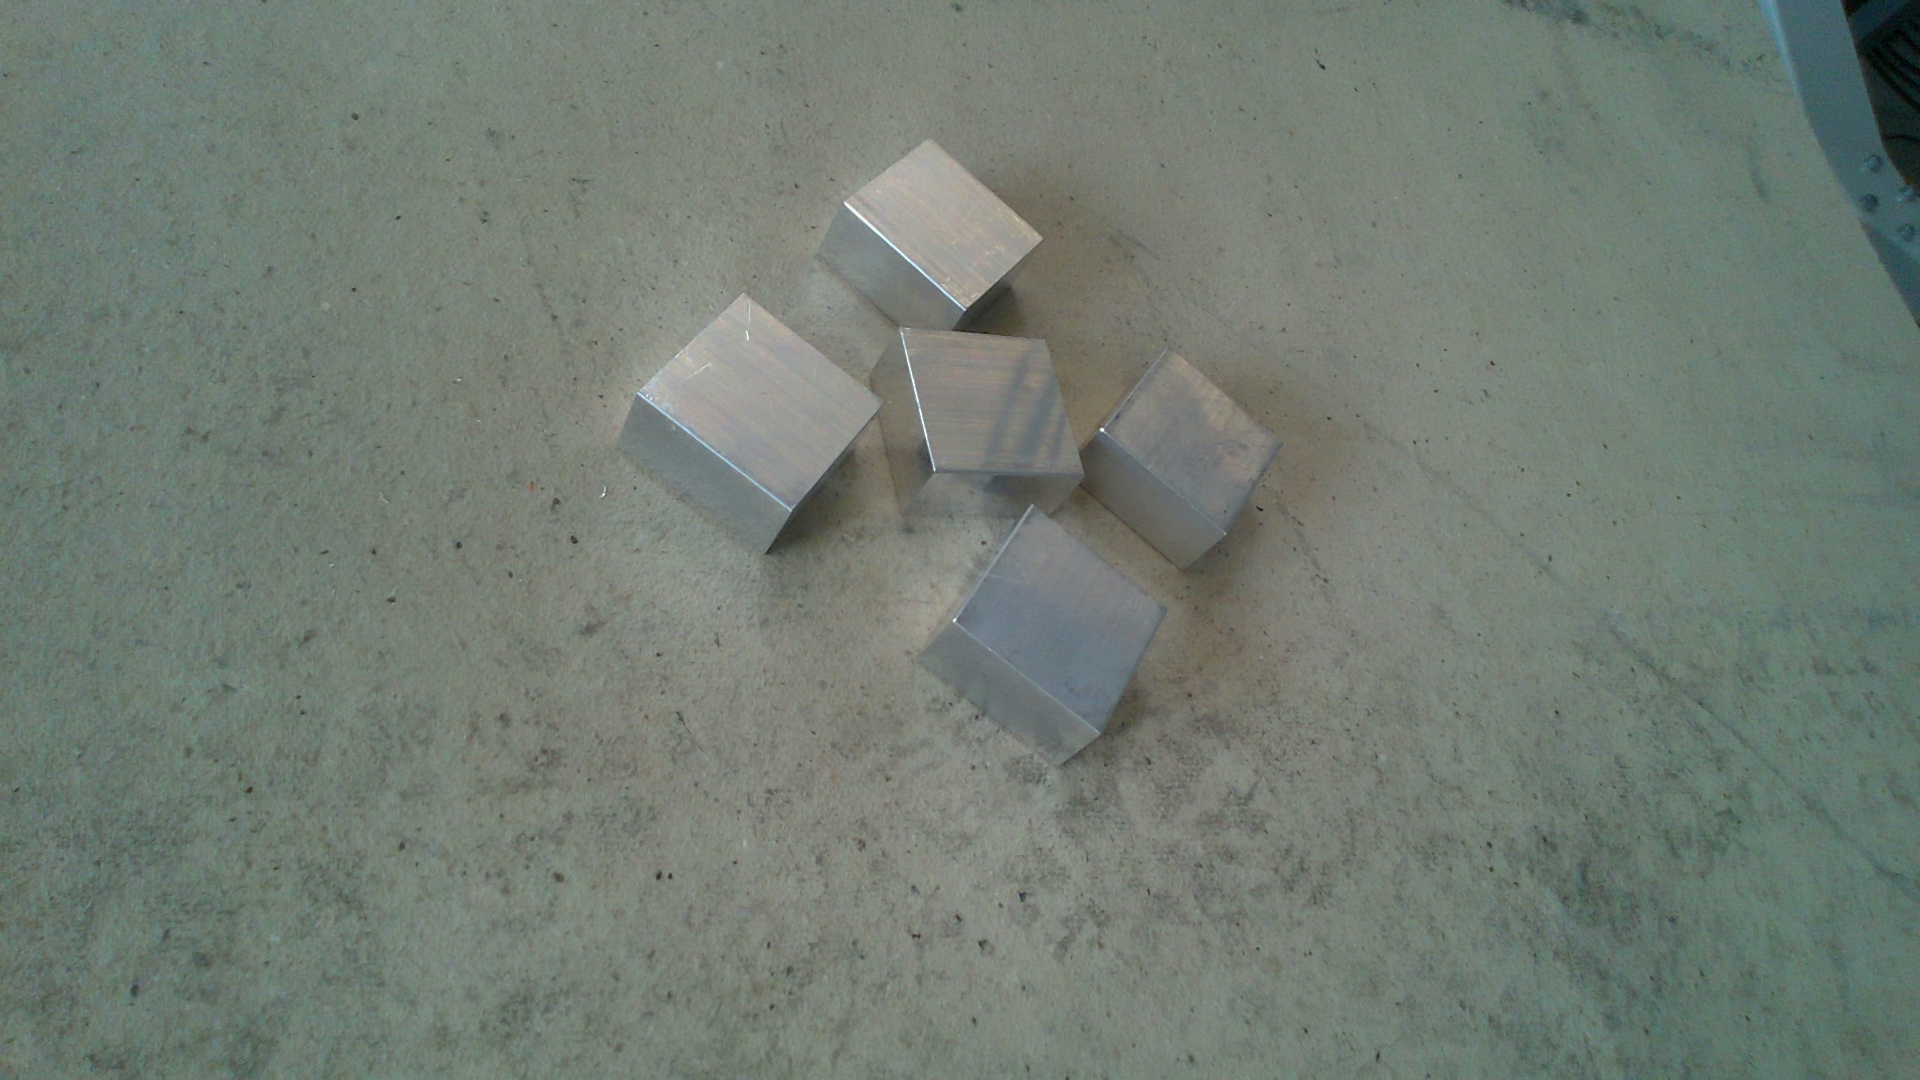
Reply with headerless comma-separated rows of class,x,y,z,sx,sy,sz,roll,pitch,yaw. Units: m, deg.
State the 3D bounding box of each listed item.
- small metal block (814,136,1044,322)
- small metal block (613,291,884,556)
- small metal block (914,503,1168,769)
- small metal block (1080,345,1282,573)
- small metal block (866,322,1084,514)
small metal block,-0.009,-0.095,0.442,0.050,0.025,0.050,41,50,1
small metal block,-0.058,-0.033,0.379,0.050,0.025,0.050,37,50,-3
small metal block,0.023,0.027,0.386,0.050,0.025,0.050,38,50,-3
small metal block,0.069,-0.027,0.444,0.050,0.025,0.050,40,51,-1
small metal block,0.004,-0.036,0.413,0.050,0.025,0.050,0,62,-28
